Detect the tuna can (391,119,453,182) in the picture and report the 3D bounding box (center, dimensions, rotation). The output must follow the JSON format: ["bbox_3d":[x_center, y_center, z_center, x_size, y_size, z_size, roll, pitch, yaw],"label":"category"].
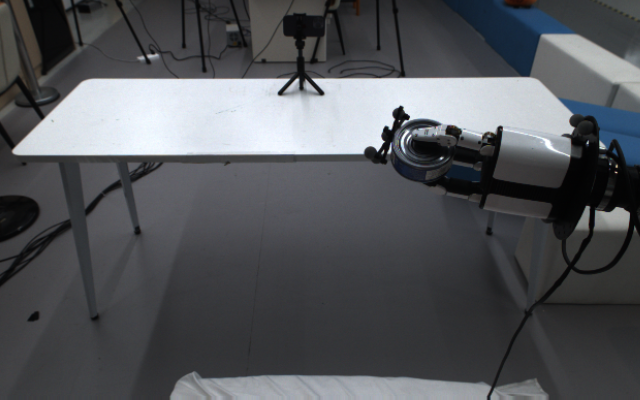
[{"bbox_3d":[0.142,-0.070,0.660,0.085,0.034,0.085,-1,61,1],"label":"tuna can"}]
